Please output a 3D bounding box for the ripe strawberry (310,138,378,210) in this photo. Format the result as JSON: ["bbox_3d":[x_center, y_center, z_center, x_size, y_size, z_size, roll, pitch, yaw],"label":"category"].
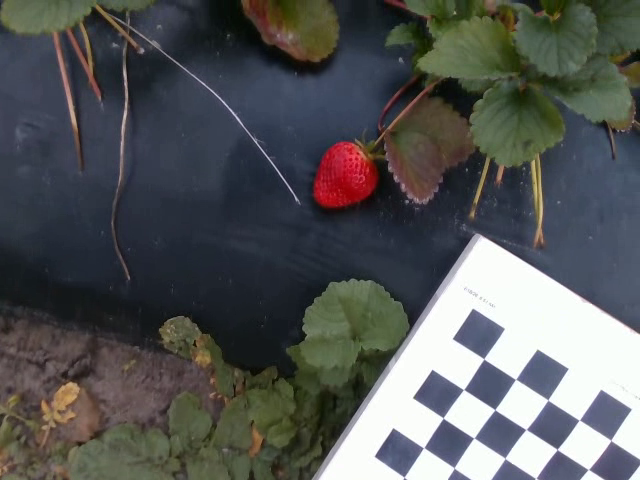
[{"bbox_3d":[0.008,-0.026,0.243,0.032,0.029,0.022,-42,-5,4],"label":"ripe strawberry"}]
